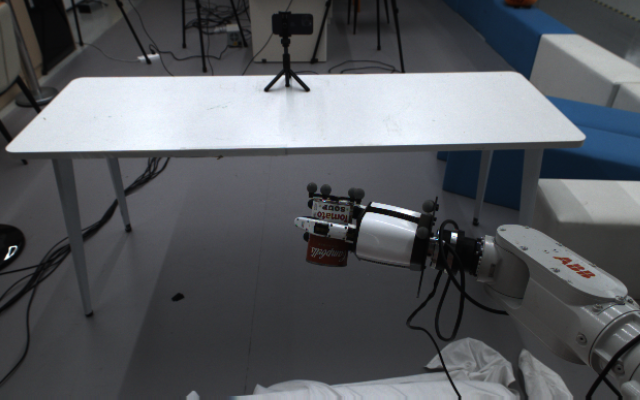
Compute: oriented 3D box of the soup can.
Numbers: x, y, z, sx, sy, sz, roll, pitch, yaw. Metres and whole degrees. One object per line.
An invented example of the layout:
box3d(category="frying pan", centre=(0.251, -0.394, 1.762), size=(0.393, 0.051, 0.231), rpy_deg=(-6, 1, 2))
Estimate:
box3d(category="soup can", centre=(0.017, 0.050, 0.772), size=(0.067, 0.101, 0.067), rpy_deg=(7, 3, 0))
